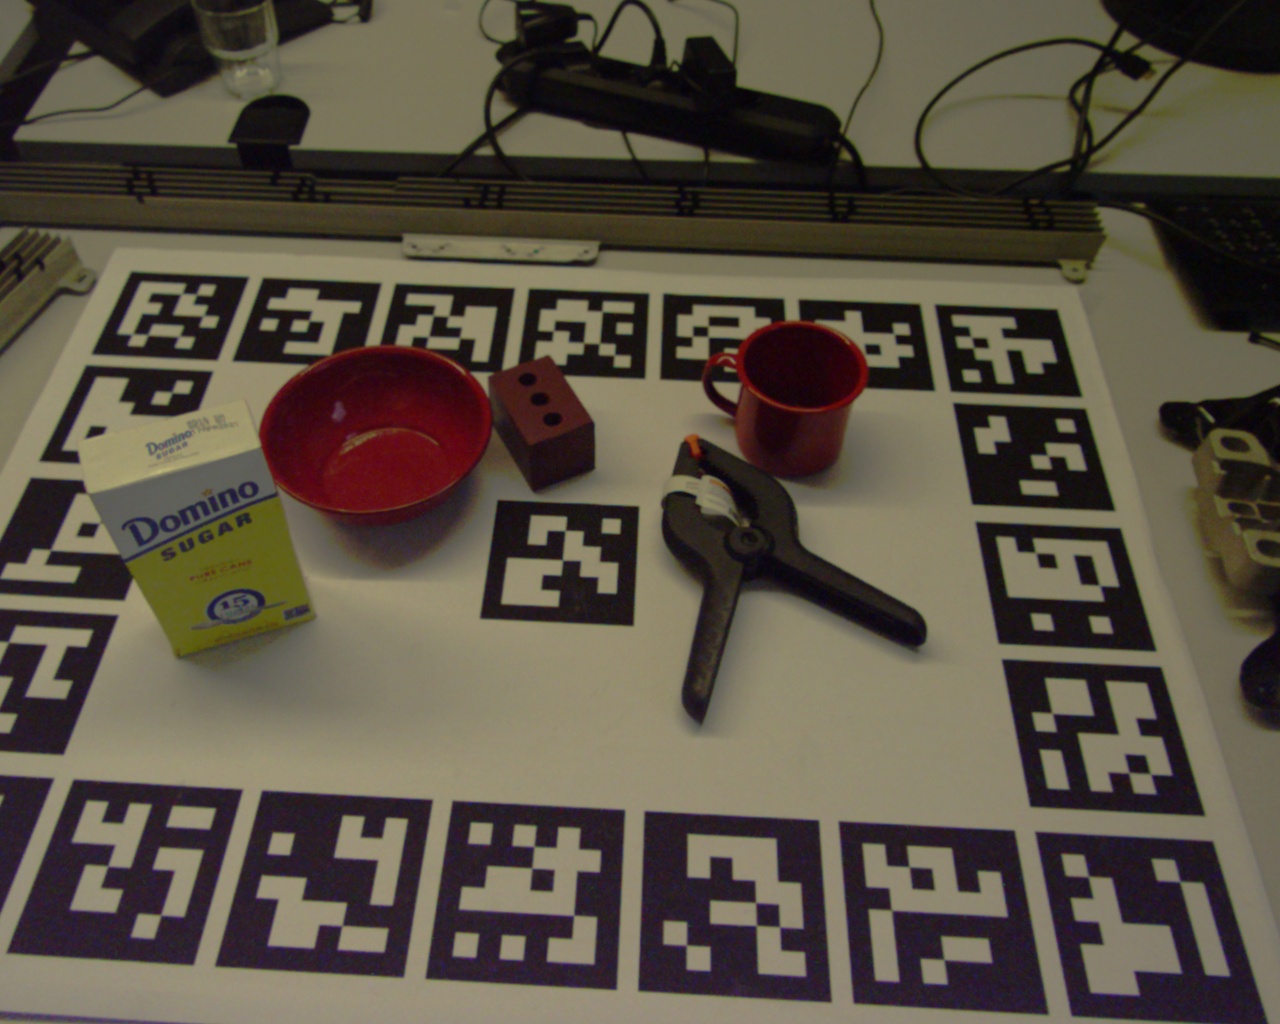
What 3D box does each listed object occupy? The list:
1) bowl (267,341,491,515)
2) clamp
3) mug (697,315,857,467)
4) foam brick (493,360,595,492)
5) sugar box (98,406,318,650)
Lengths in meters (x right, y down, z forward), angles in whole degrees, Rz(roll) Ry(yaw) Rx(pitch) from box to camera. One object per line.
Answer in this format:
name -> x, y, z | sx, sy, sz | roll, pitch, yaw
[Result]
bowl -> -0.190, -0.052, 0.846 | 0.161, 0.055, 0.162 | 1, 53, -2
clamp -> 0.062, 0.020, 0.800 | 0.164, 0.036, 0.204 | -18, 56, -12
mug -> 0.098, -0.093, 0.862 | 0.118, 0.081, 0.093 | 25, 56, 13
foam brick -> -0.073, -0.065, 0.867 | 0.052, 0.051, 0.079 | -21, 57, -15
sugar box -> -0.265, 0.015, 0.719 | 0.092, 0.176, 0.046 | -18, 58, -16
